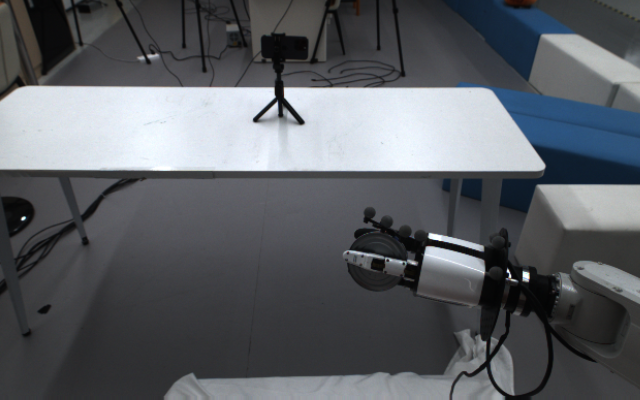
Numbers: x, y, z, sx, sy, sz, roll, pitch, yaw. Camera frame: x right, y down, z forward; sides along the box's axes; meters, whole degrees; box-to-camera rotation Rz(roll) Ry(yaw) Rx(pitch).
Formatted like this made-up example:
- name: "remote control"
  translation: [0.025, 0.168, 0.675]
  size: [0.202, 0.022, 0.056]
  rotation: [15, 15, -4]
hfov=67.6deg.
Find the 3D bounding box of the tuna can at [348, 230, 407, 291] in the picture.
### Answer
- name: "tuna can"
  translation: [0.086, 0.086, 0.703]
  size: [0.085, 0.085, 0.034]
  rotation: [13, 2, 16]
